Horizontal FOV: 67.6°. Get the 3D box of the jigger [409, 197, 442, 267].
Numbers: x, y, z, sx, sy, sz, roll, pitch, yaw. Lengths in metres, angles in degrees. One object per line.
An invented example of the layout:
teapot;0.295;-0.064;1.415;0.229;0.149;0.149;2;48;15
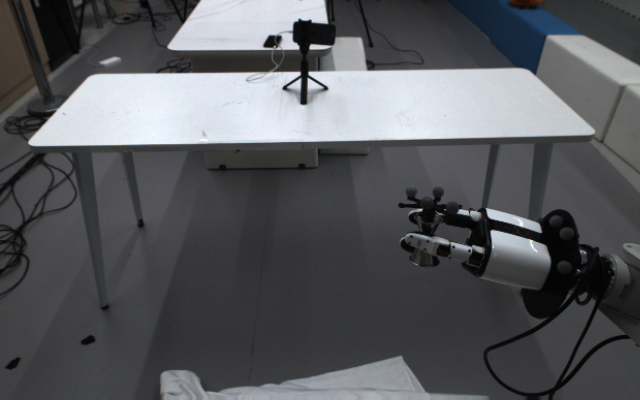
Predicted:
jigger;0.152;0.054;0.700;0.043;0.071;0.043;1;20;0
